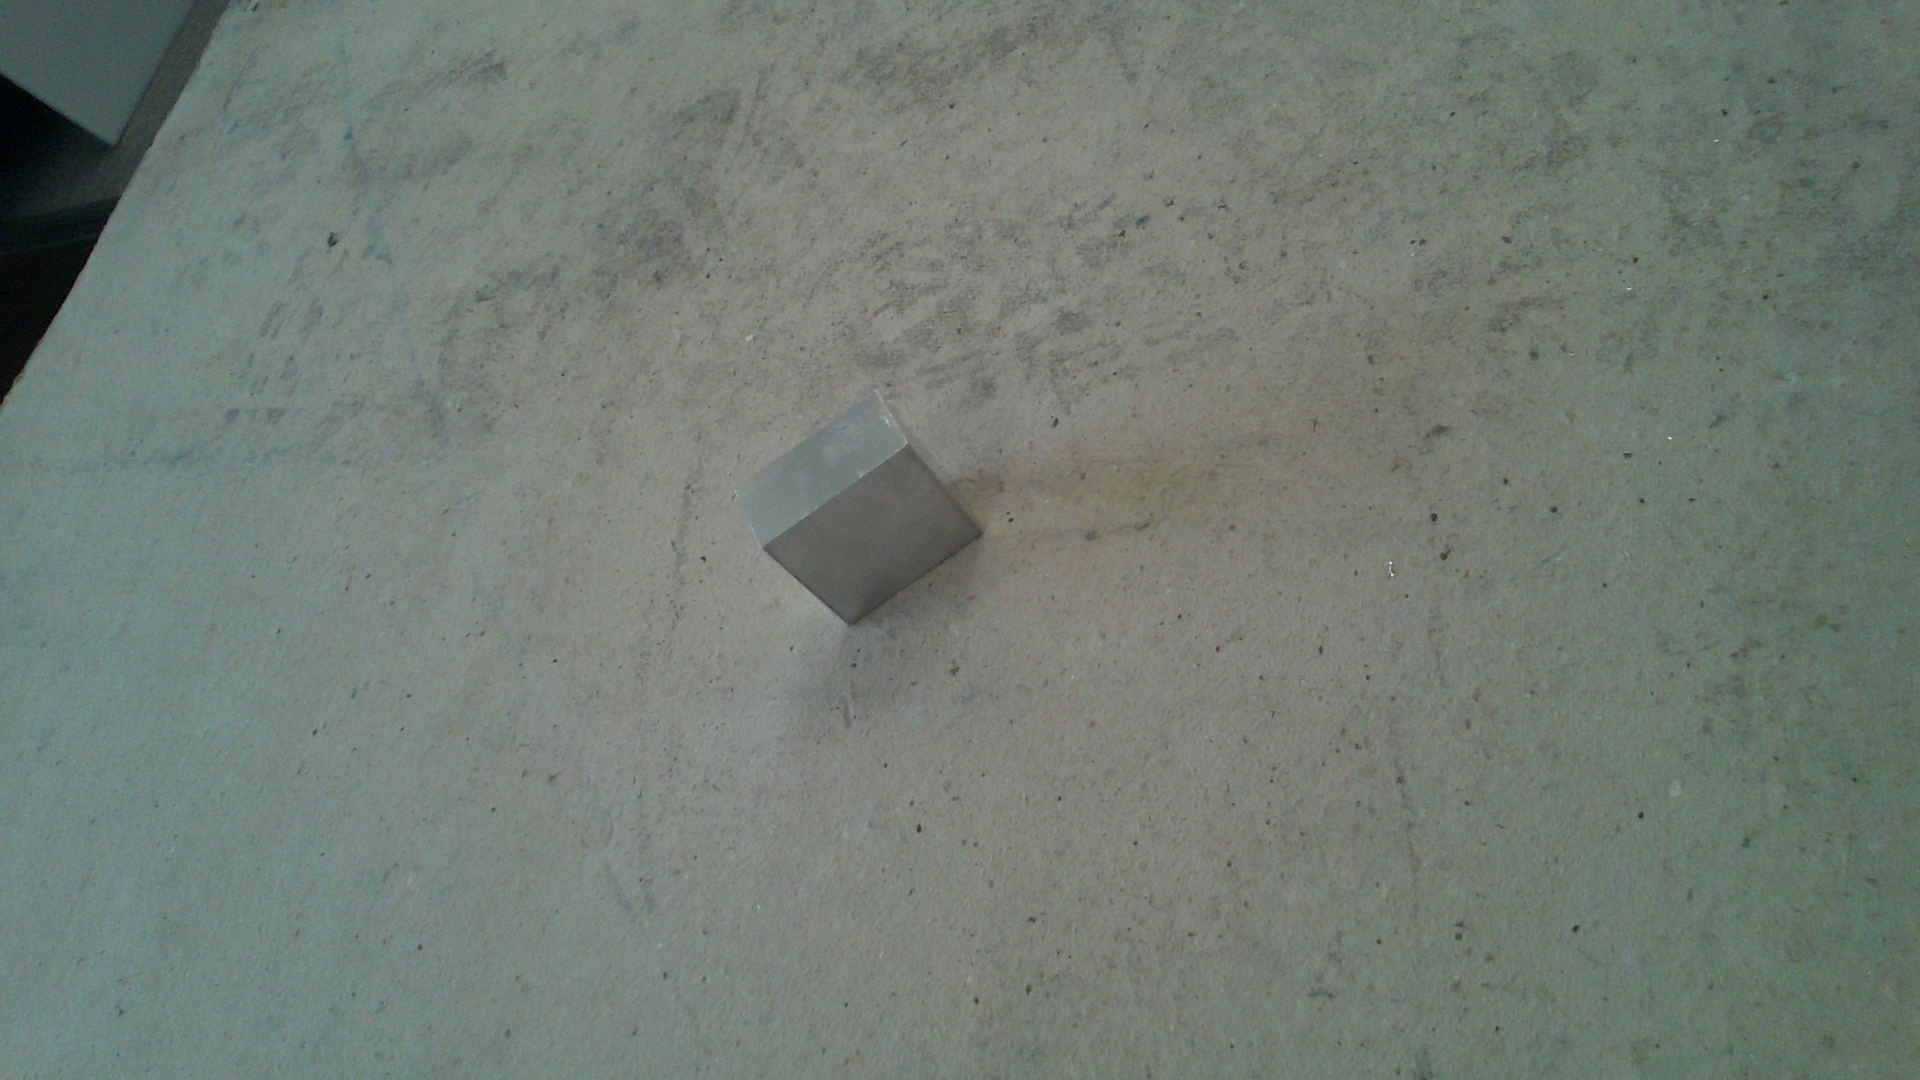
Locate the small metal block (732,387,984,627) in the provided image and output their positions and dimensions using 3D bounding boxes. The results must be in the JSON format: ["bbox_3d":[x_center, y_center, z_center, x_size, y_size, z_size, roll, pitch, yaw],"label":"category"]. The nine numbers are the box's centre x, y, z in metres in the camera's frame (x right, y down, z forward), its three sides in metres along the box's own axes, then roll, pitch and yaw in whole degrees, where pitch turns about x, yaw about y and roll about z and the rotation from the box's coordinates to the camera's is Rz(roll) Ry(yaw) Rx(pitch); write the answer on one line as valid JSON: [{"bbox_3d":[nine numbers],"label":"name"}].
[{"bbox_3d":[-0.029,-0.008,0.399,0.050,0.050,0.025,-35,51,5],"label":"small metal block"}]
